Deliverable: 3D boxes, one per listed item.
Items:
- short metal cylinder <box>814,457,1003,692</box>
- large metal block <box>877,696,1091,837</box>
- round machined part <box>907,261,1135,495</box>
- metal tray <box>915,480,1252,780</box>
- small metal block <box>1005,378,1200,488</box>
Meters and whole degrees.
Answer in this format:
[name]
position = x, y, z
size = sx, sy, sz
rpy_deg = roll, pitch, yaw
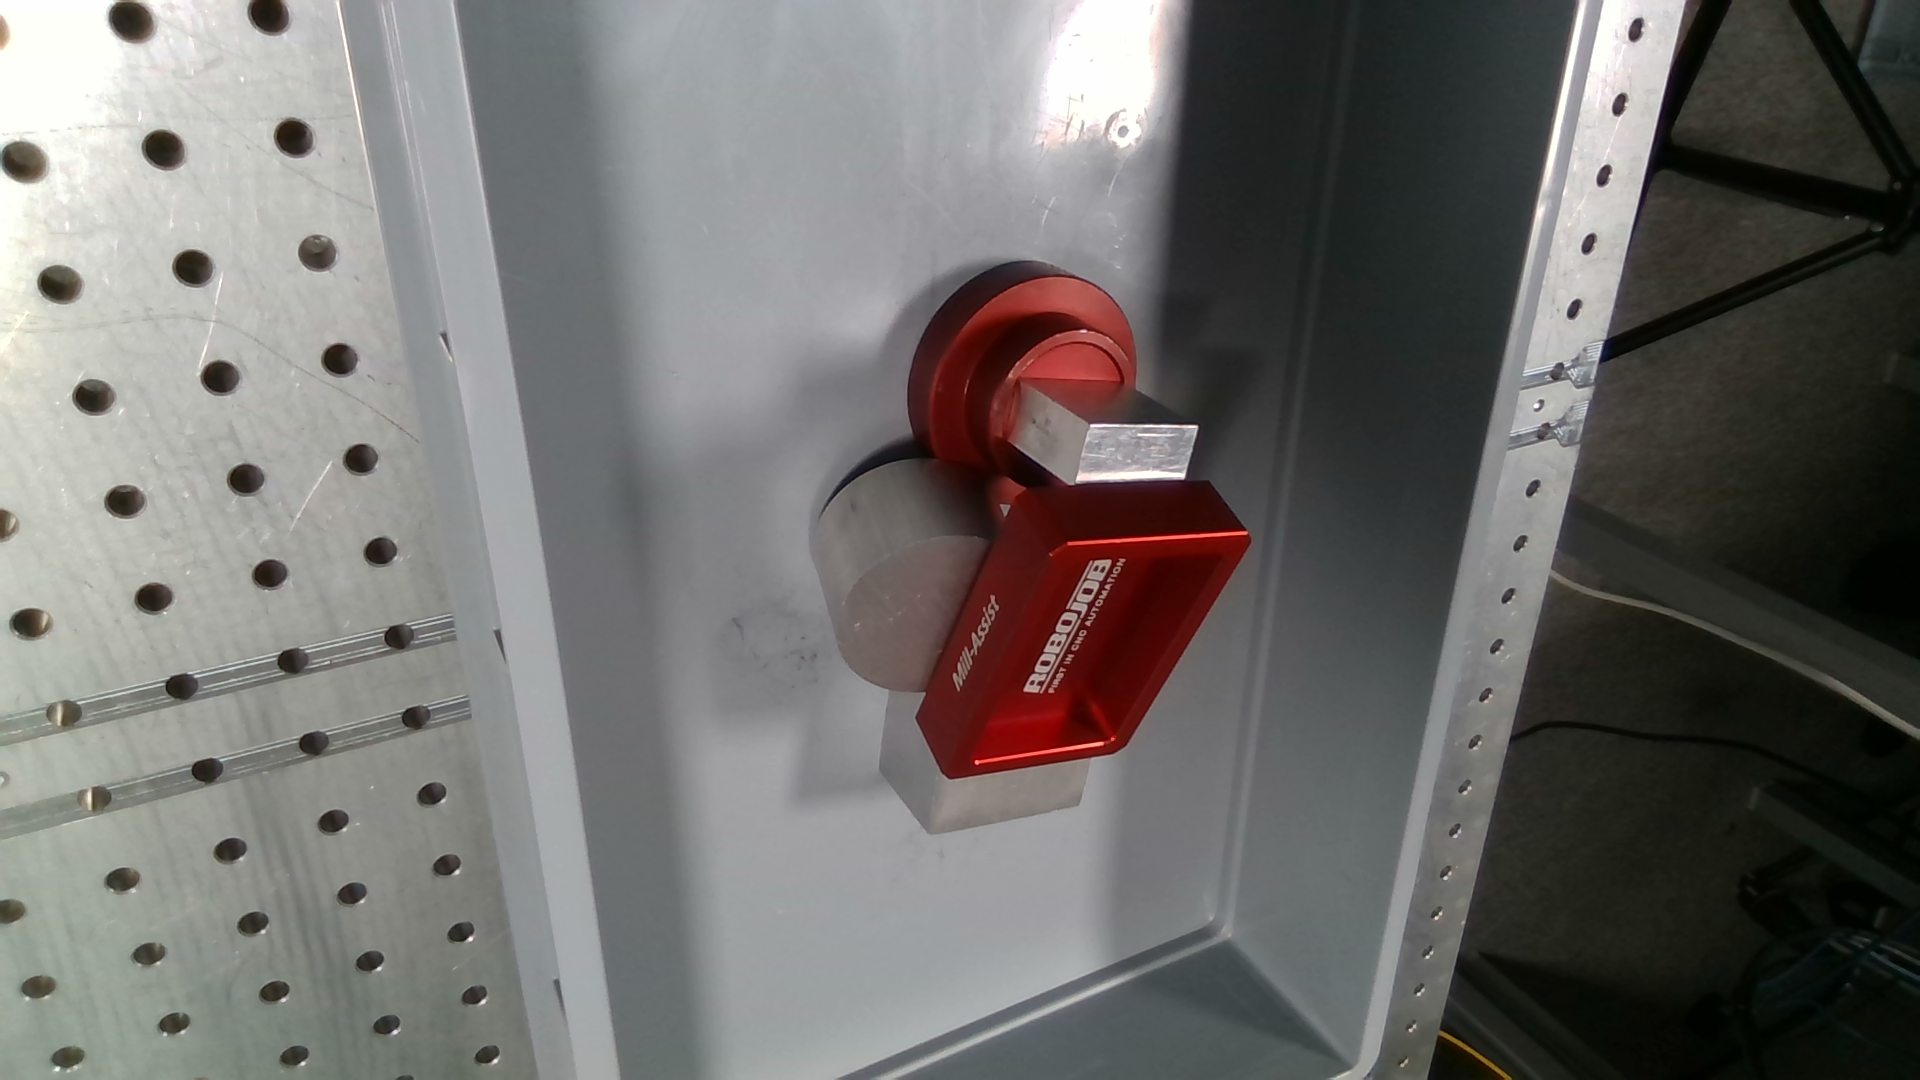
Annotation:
[short metal cylinder]
position = -0.014, 0.014, 0.547
size = 0.080, 0.050, 0.080
rpy_deg = -10, 131, -11
[large metal block]
position = 0.015, 0.078, 0.613
size = 0.080, 0.050, 0.080
rpy_deg = -5, 117, -30
[round machined part]
position = 0.031, -0.059, 0.555
size = 0.098, 0.042, 0.098
rpy_deg = -14, 122, -25
[metal tray]
position = 0.045, 0.036, 0.532
size = 0.090, 0.030, 0.130
rpy_deg = -4, 136, -30
[small metal block]
position = 0.053, -0.040, 0.519
size = 0.050, 0.050, 0.025
rpy_deg = -2, 116, -31
